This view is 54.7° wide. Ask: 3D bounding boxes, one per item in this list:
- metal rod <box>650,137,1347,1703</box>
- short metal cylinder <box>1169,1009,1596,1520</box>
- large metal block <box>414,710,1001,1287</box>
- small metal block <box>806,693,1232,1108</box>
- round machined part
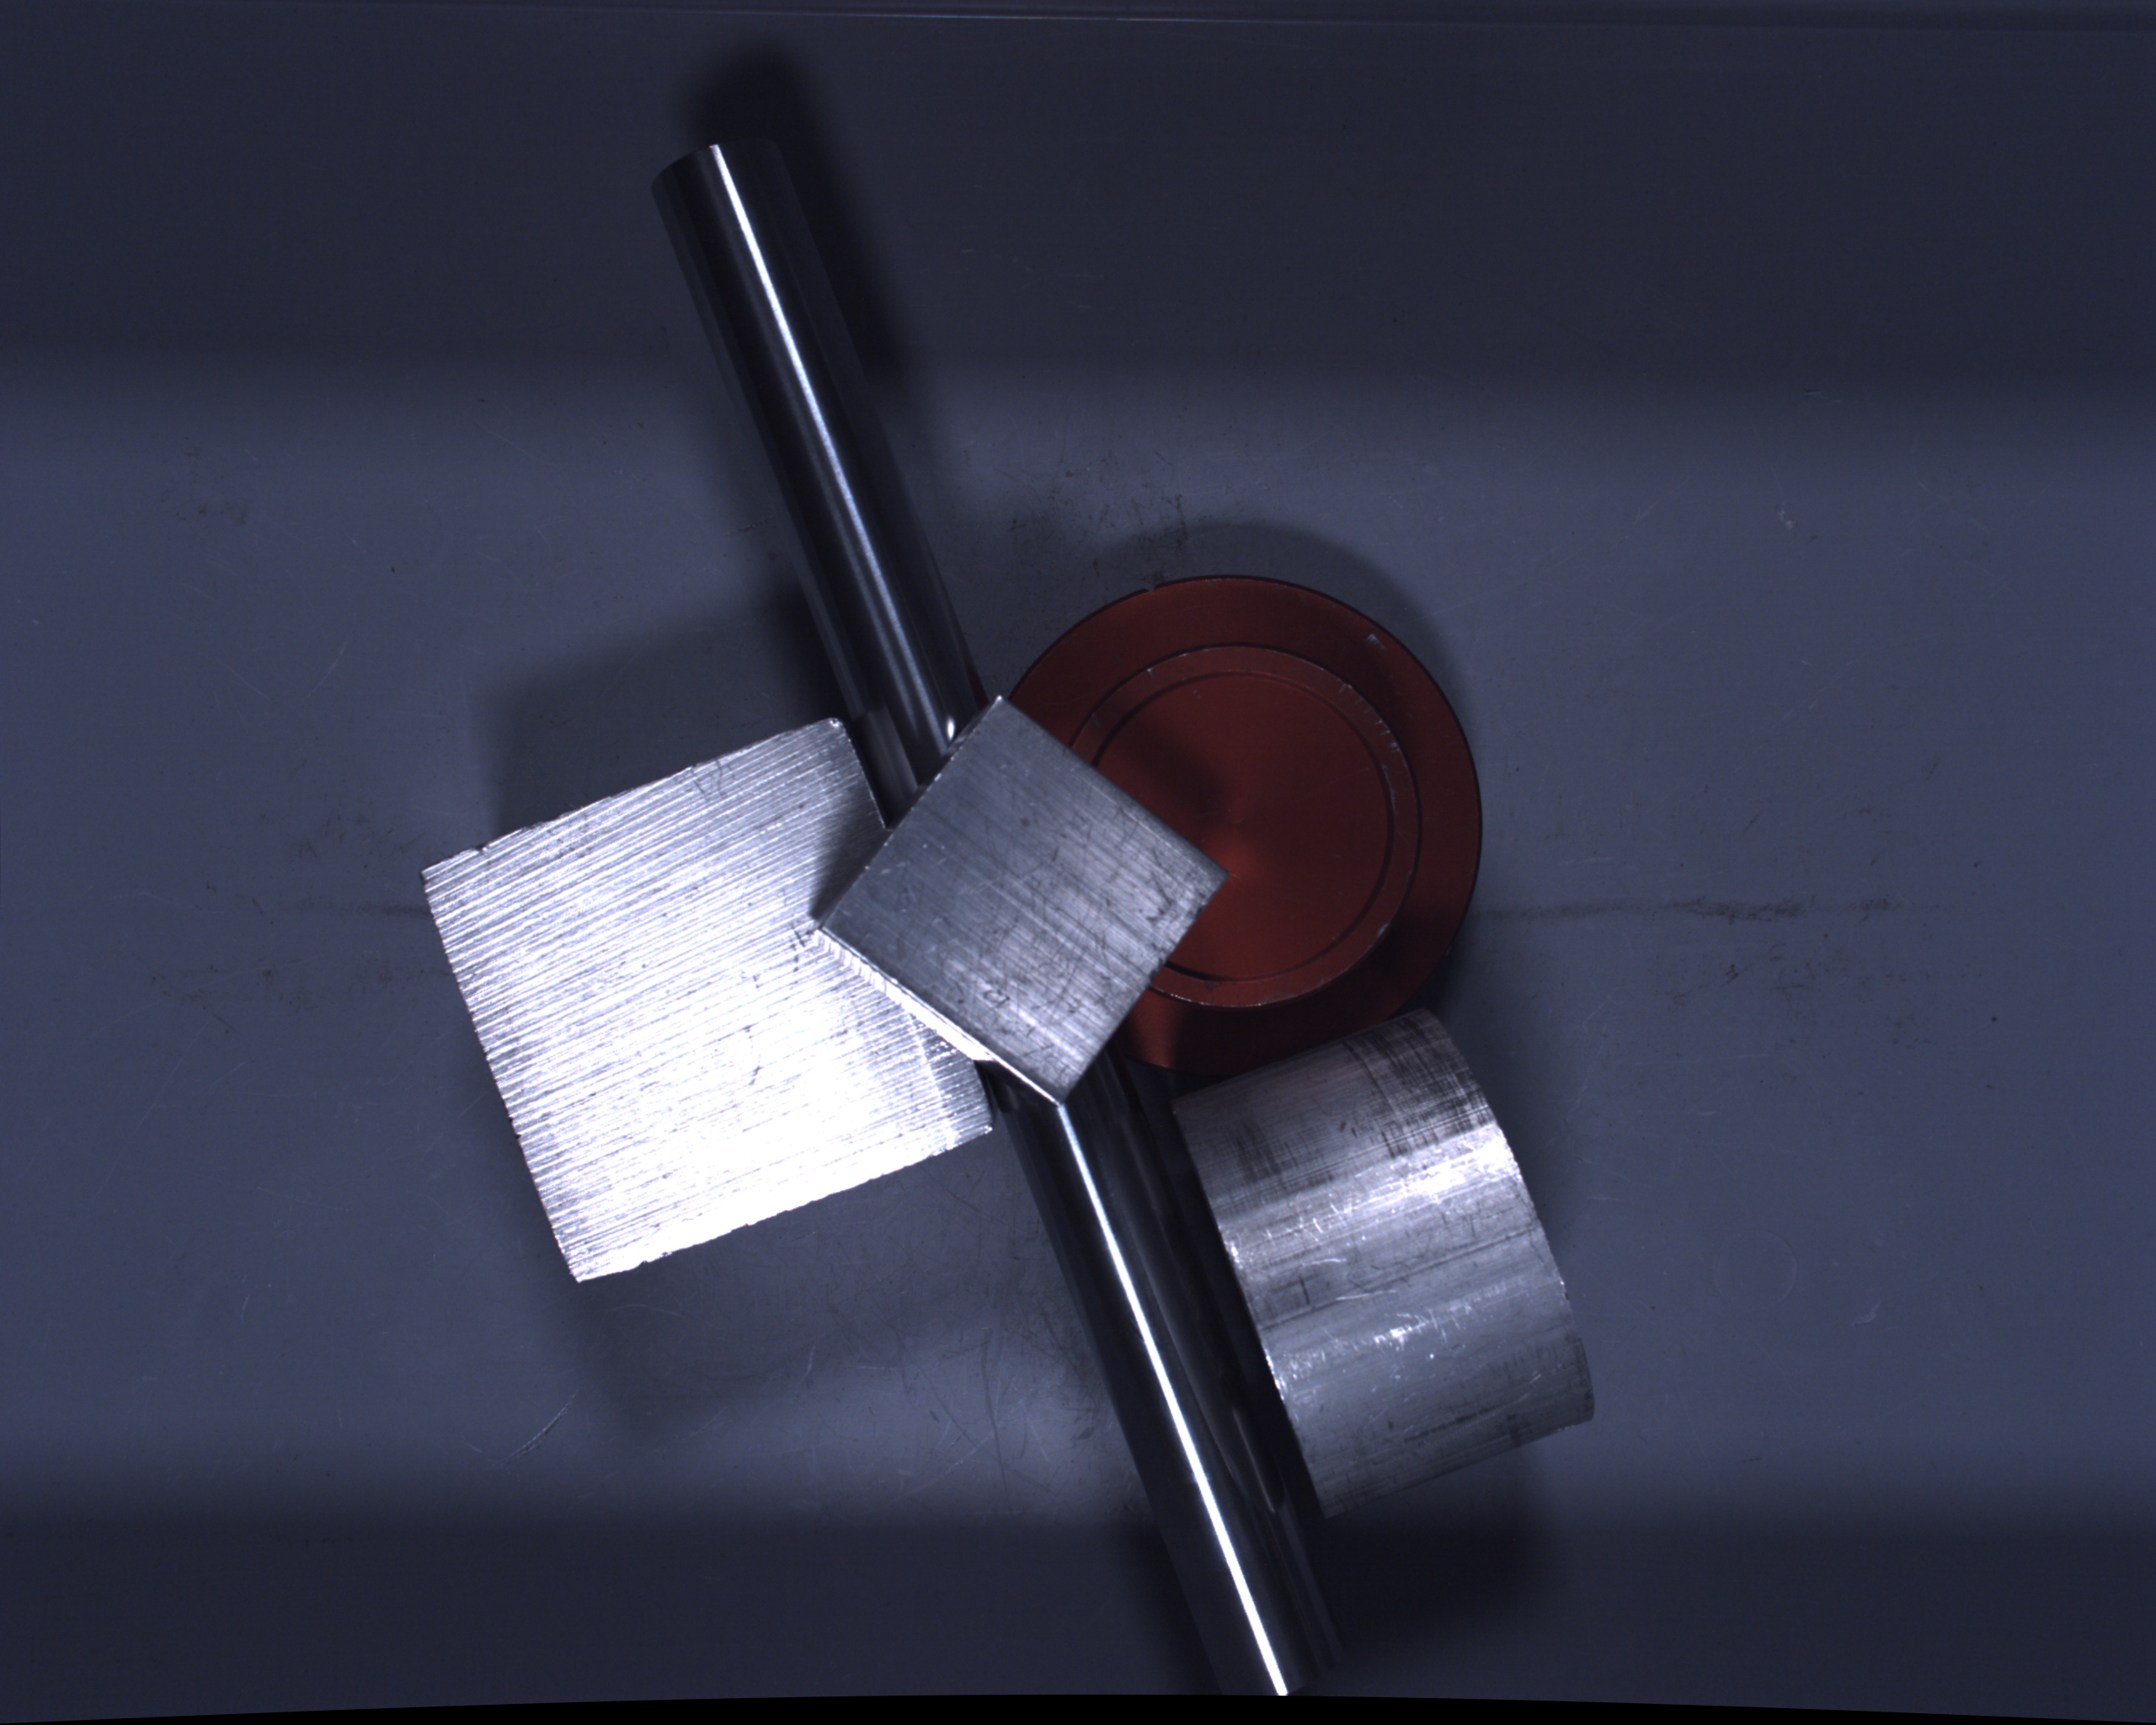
[{"bbox_3d":[-0.015,0.011,0.389,0.025,0.025,0.299,-21,90,0],"label":"metal rod"},{"bbox_3d":[0.054,0.073,0.383,0.050,0.080,0.080,-21,90,0],"label":"short metal cylinder"},{"bbox_3d":[-0.066,0.024,0.394,0.080,0.050,0.080,-20,90,-1],"label":"large metal block"},{"bbox_3d":[-0.011,0.007,0.361,0.050,0.025,0.050,38,78,-7],"label":"small metal block"},{"bbox_3d":[0.029,-0.007,0.401,0.099,0.042,0.097,0,90,-1],"label":"round machined part"}]
